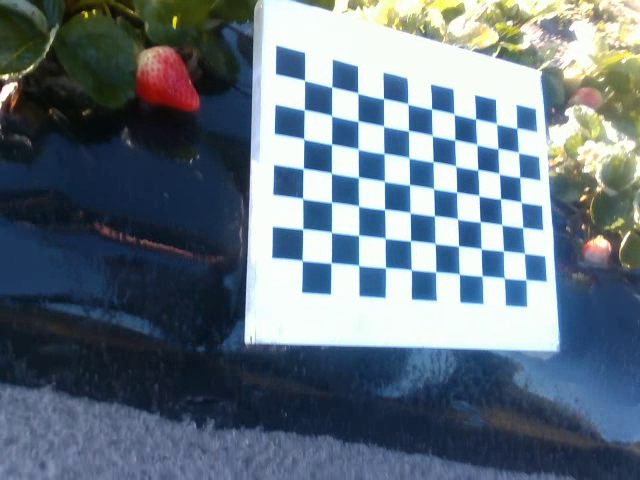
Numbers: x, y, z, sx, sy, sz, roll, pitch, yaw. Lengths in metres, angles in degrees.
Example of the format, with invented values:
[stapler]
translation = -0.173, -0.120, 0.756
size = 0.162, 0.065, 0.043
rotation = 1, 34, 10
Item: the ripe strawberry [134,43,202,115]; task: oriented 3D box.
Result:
[ripe strawberry]
translation = -0.121, -0.126, 0.447
size = 0.040, 0.065, 0.040
rotation = -49, 11, -27
